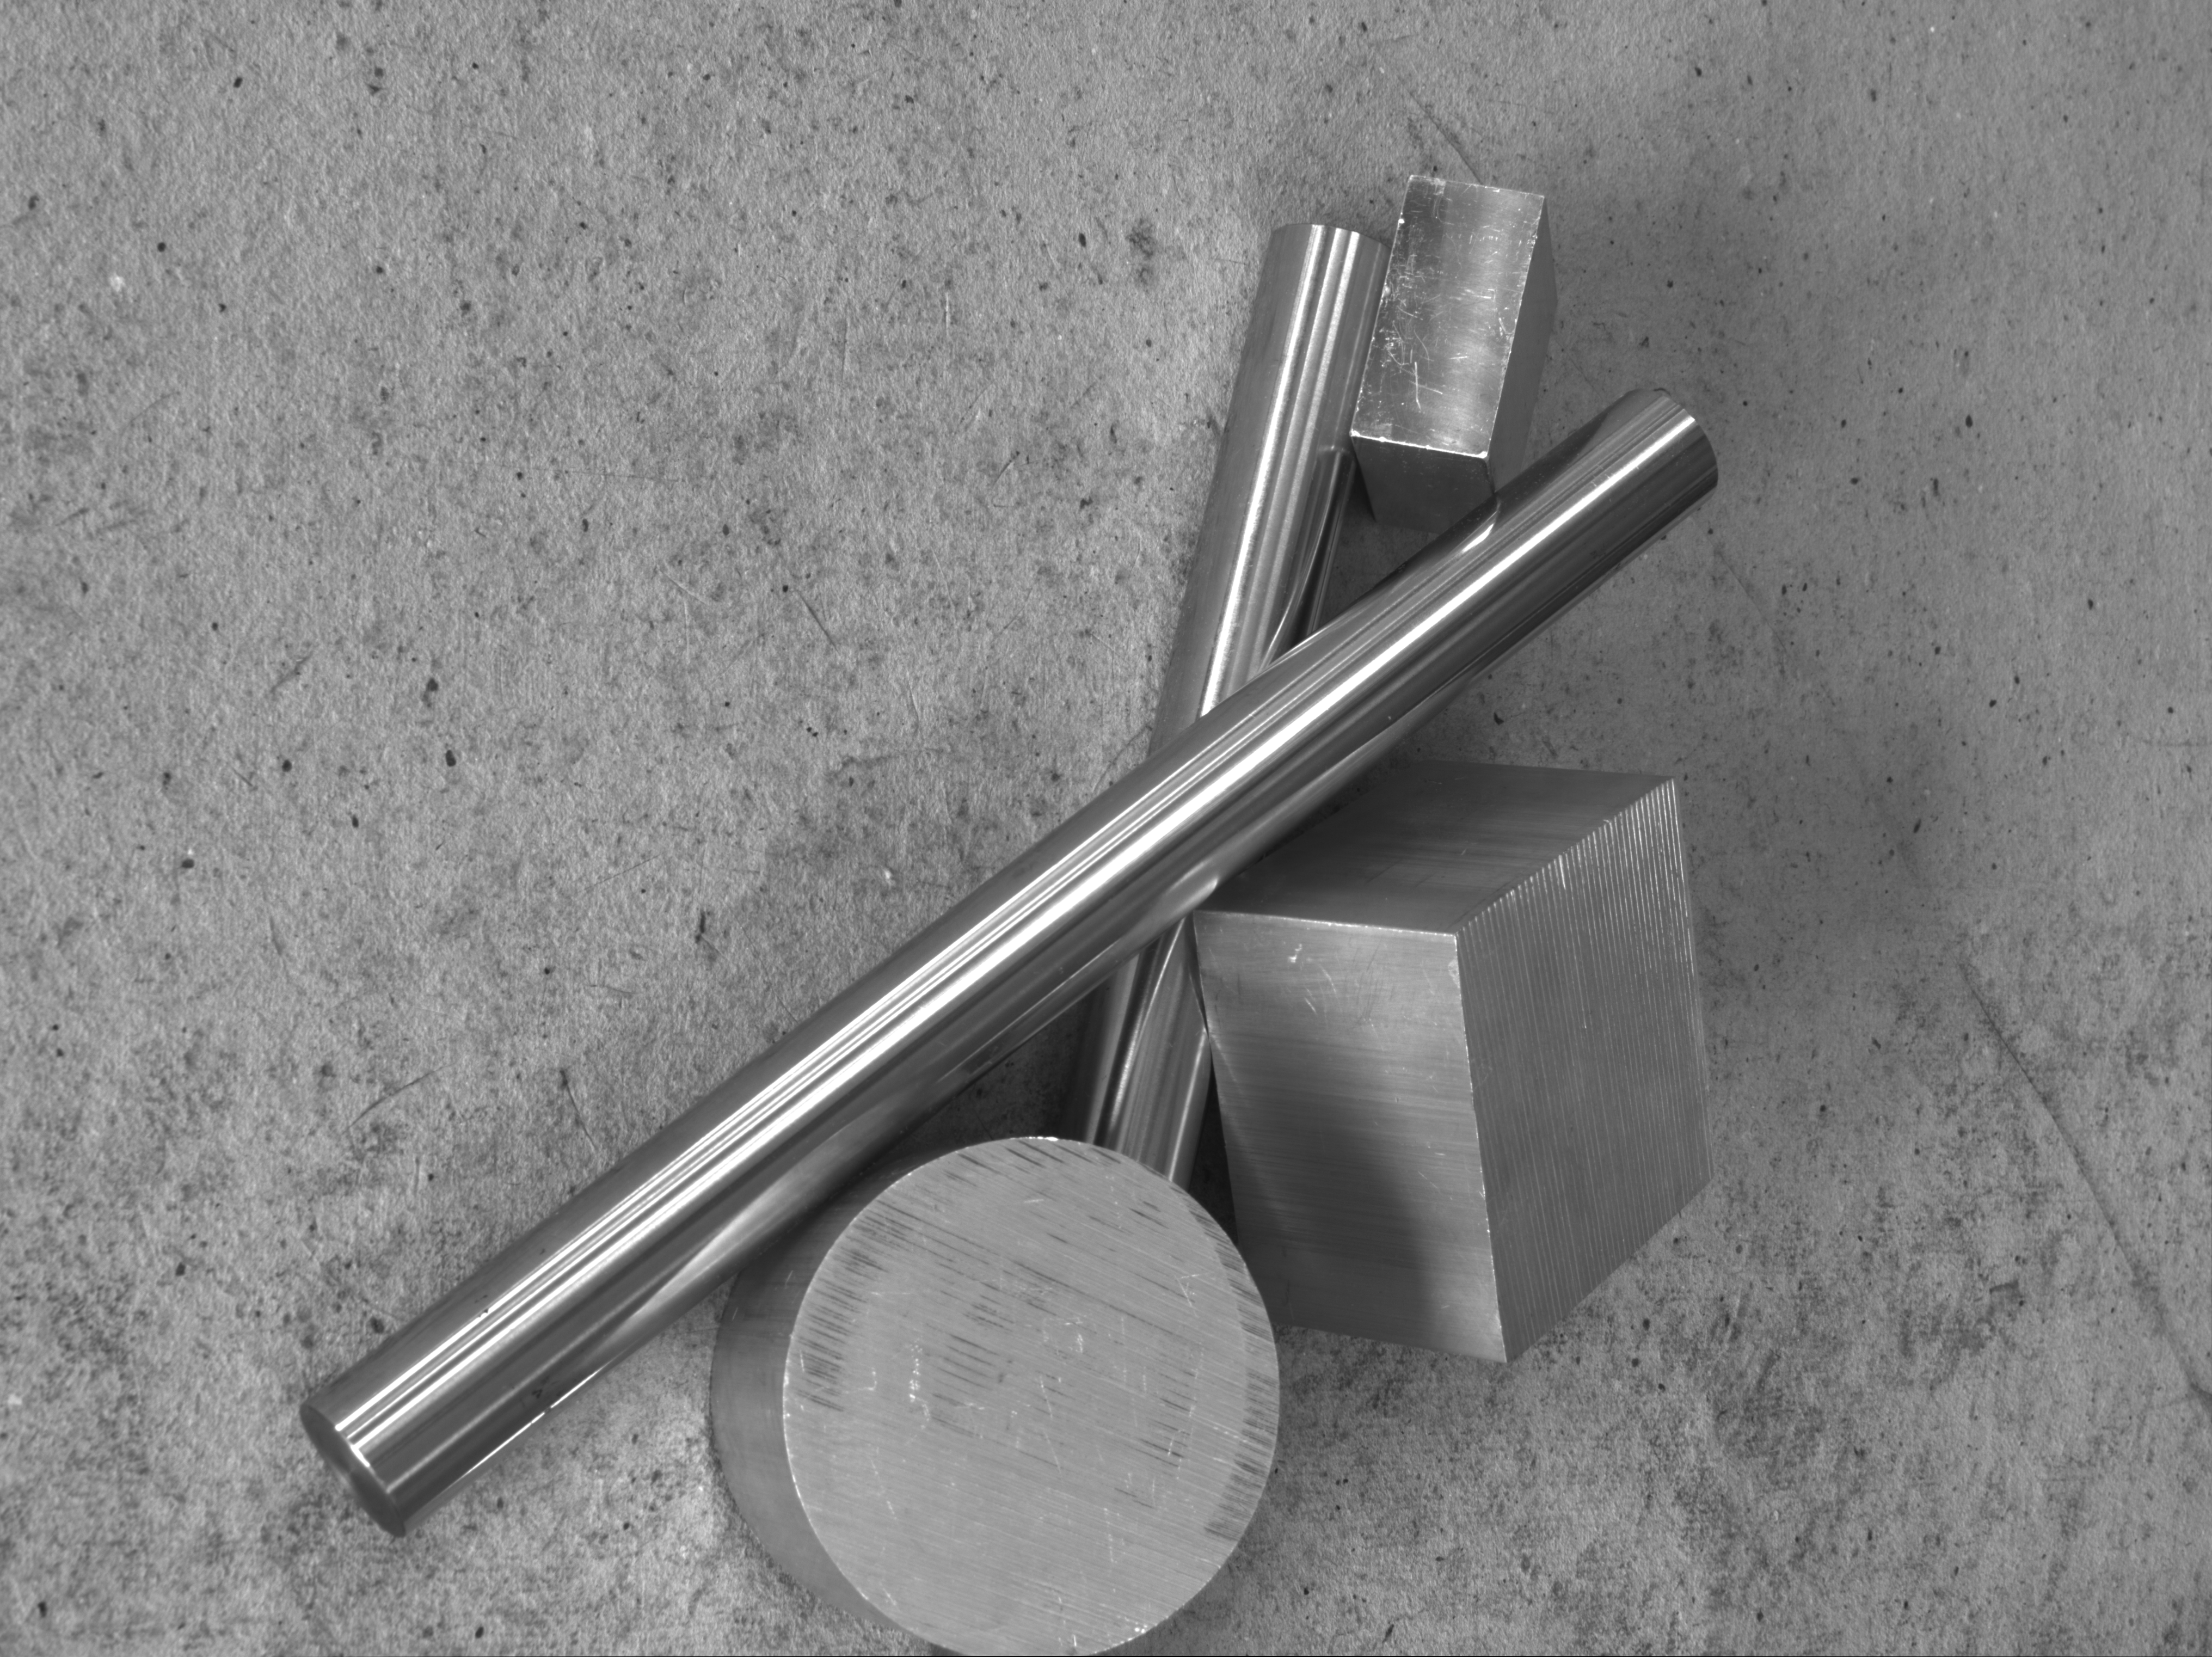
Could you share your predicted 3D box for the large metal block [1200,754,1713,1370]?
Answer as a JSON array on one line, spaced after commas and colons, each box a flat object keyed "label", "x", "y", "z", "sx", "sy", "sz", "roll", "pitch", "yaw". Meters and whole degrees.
[{"label": "large metal block", "x": 0.064, "y": 0.039, "z": 0.654, "sx": 0.080, "sy": 0.050, "sz": 0.080, "roll": -31, "pitch": 118, "yaw": -49}]

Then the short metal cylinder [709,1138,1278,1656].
[{"label": "short metal cylinder", "x": -0.019, "y": 0.091, "z": 0.588, "sx": 0.080, "sy": 0.050, "sz": 0.080, "roll": 2, "pitch": 83, "yaw": -19}]

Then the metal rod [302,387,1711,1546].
[{"label": "metal rod", "x": -0.005, "y": 0.013, "z": 0.610, "sx": 0.301, "sy": 0.025, "sz": 0.025, "roll": -38, "pitch": 113, "yaw": -26}]

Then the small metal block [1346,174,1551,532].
[{"label": "small metal block", "x": 0.064, "y": -0.085, "z": 0.673, "sx": 0.050, "sy": 0.025, "sz": 0.050, "roll": 55, "pitch": 47, "yaw": -74}]

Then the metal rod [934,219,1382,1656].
[{"label": "metal rod", "x": 0.008, "y": 0.037, "z": 0.643, "sx": 0.025, "sy": 0.025, "sz": 0.300, "roll": 22, "pitch": 76, "yaw": -38}]
